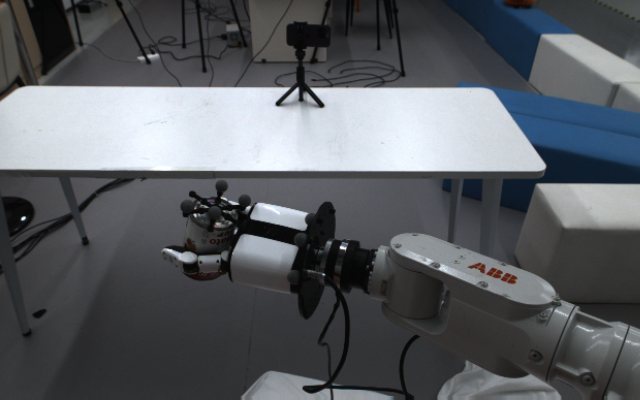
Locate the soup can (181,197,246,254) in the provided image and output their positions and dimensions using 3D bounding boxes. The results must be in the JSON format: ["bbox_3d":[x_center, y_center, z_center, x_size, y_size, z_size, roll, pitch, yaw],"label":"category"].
[{"bbox_3d":[-0.155,0.055,0.674,0.067,0.101,0.067,14,36,-11],"label":"soup can"}]
